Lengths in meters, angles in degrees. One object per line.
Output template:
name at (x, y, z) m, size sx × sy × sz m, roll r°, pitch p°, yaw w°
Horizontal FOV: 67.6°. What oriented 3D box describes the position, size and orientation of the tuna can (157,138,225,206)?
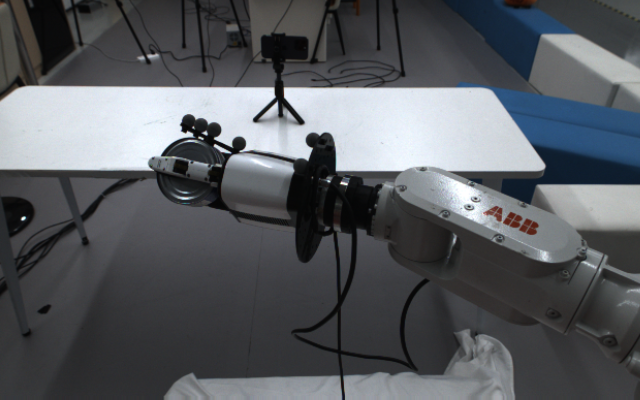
tuna can at (-0.160, -0.035, 0.617) m, size 0.085 × 0.085 × 0.034 m, roll 13°, pitch -6°, yaw 16°
